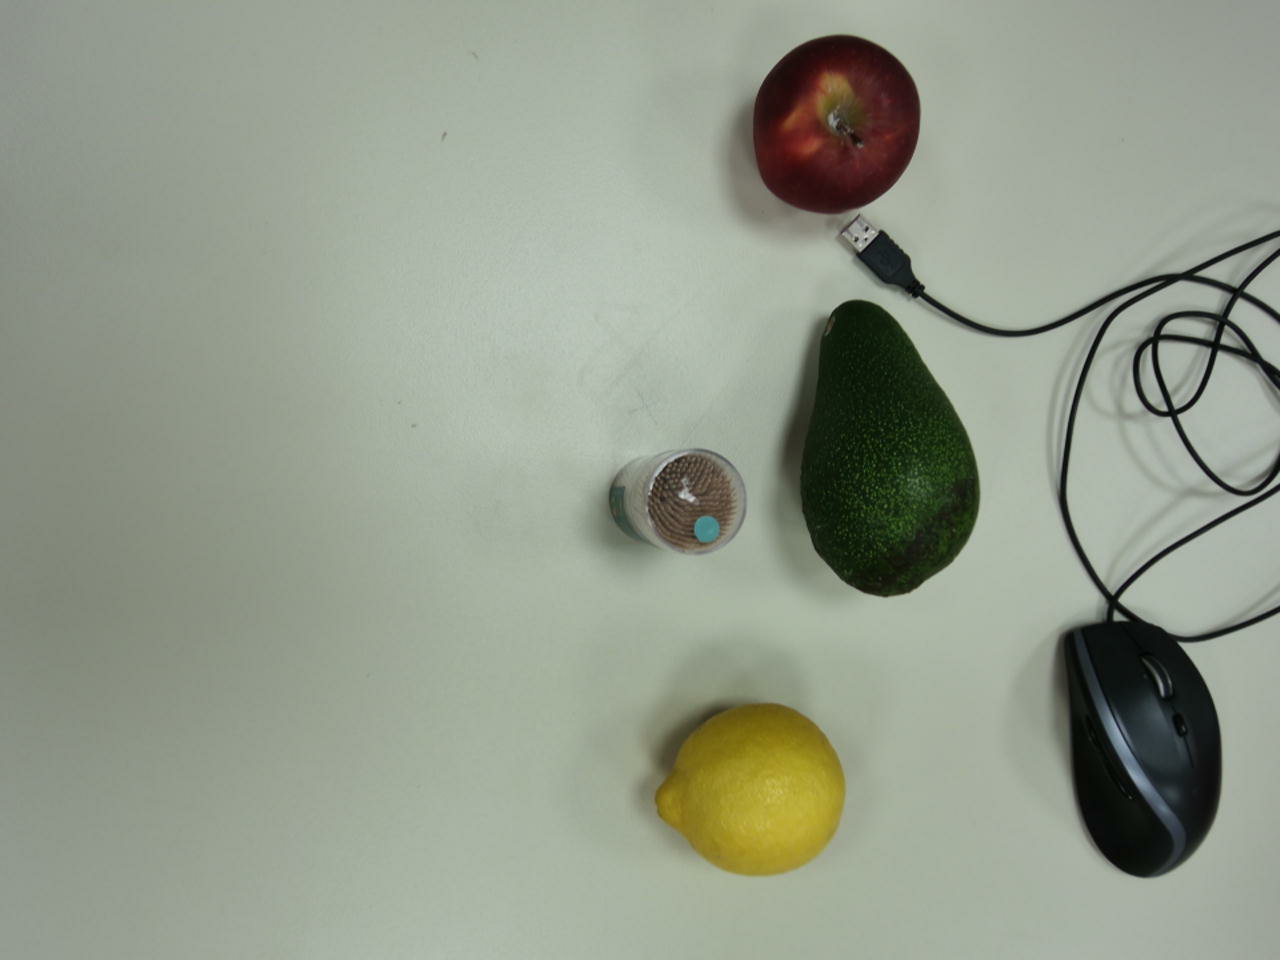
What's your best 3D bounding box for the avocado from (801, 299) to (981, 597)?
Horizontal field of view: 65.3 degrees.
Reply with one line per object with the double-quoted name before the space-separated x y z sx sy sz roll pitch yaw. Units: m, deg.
"avocado" 0.108 -0.012 0.419 0.074 0.076 0.123 15 87 -11
